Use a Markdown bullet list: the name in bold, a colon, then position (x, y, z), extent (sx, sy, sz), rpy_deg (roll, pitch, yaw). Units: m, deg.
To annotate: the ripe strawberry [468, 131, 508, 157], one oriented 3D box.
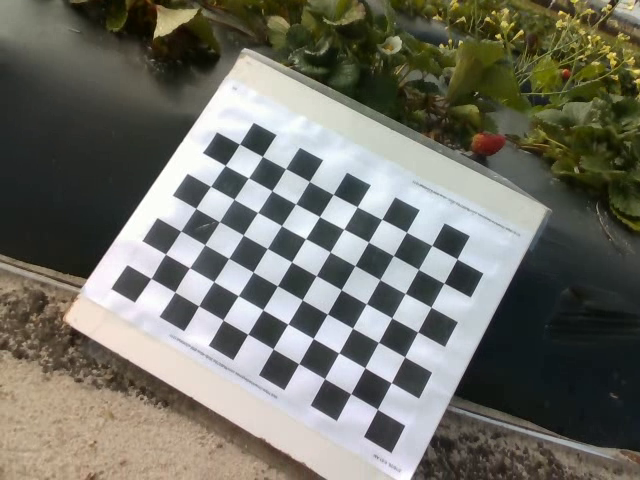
- **ripe strawberry**: position (0.114, -0.070, 0.438), extent (0.027, 0.022, 0.021), rpy_deg (1, -7, 11)
